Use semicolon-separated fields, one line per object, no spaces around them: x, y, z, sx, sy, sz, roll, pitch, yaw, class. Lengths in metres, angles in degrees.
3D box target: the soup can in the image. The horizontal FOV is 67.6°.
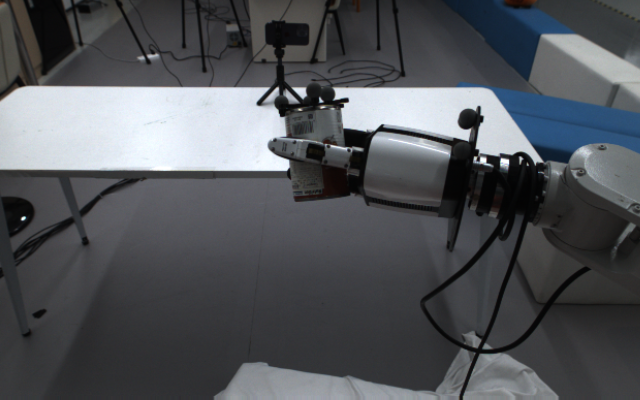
-0.001;-0.052;0.557;0.067;0.101;0.067;-7;3;0;soup can
